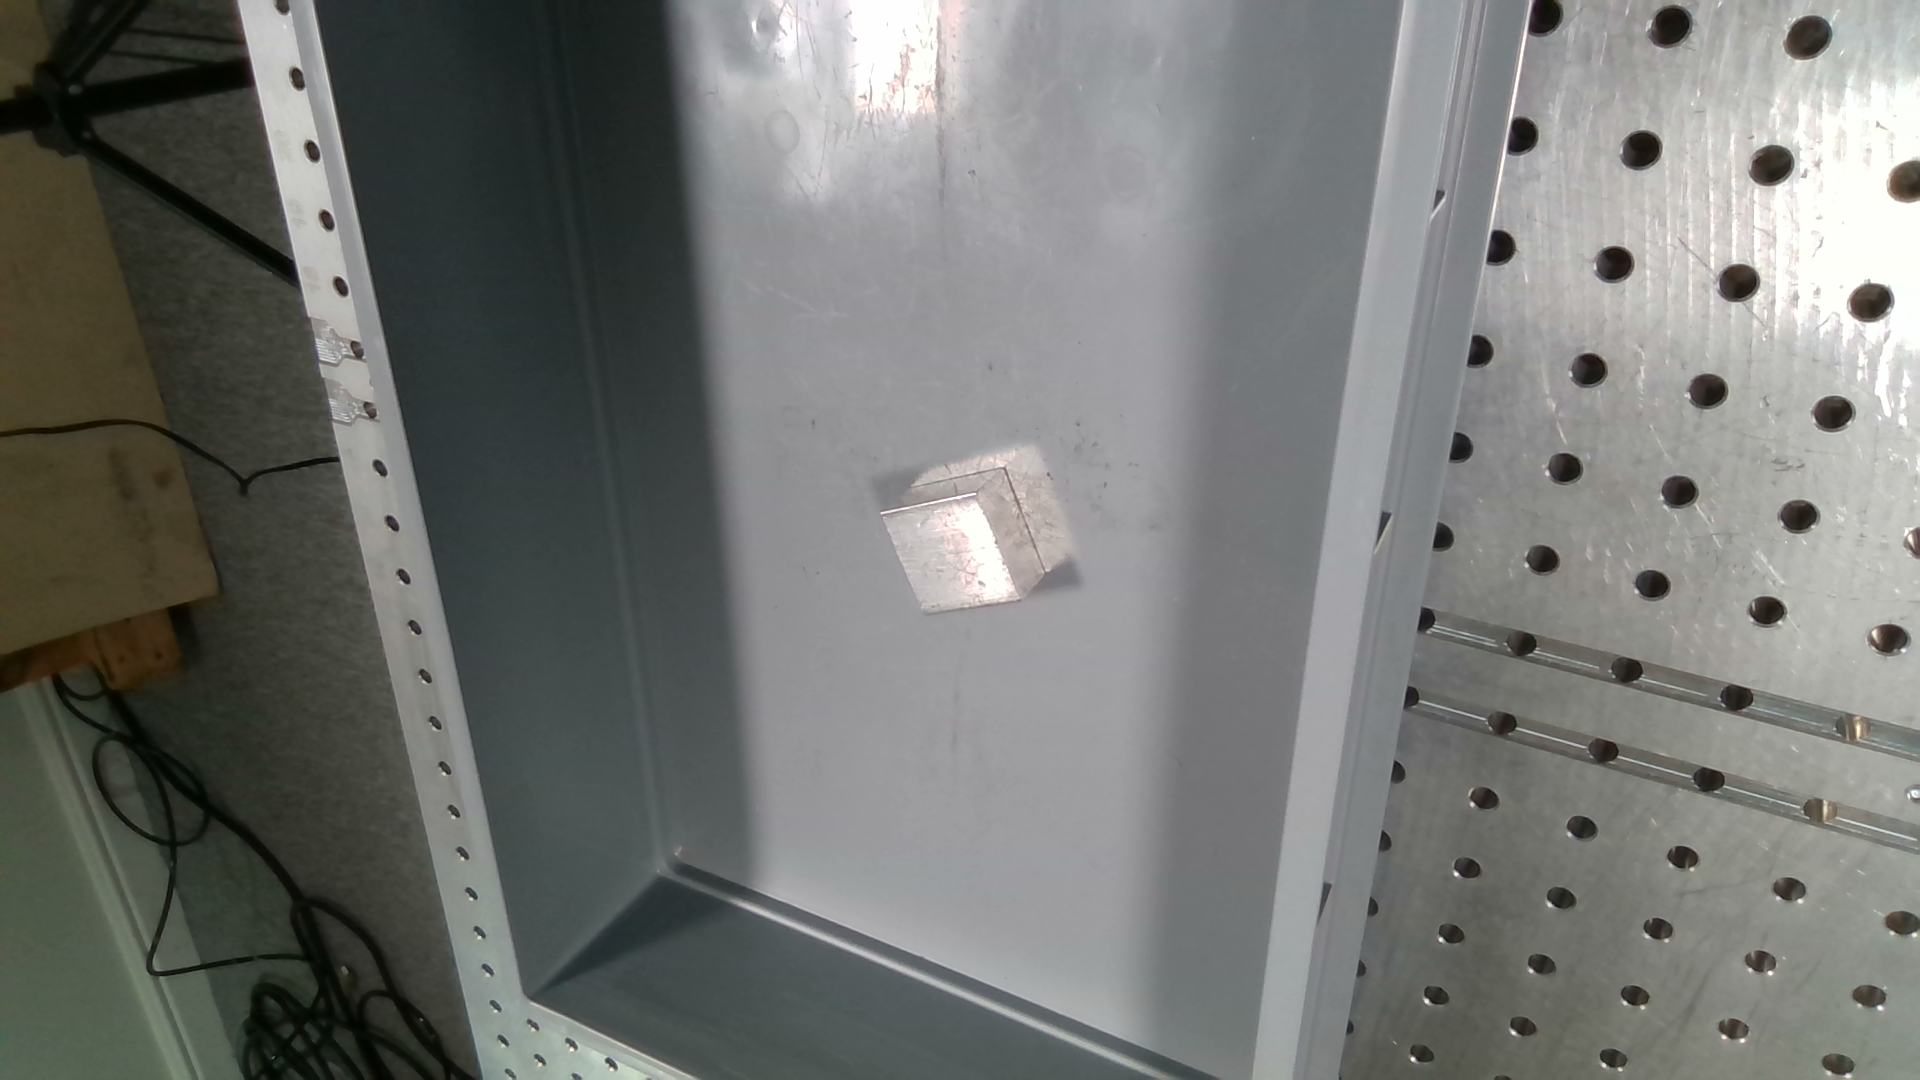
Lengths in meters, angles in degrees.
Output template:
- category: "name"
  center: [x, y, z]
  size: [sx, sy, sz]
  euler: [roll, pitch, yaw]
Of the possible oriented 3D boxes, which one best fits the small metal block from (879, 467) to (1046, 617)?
- category: "small metal block"
  center: [0.001, 0.001, 0.576]
  size: [0.050, 0.025, 0.050]
  euler: [-10, 109, 35]
